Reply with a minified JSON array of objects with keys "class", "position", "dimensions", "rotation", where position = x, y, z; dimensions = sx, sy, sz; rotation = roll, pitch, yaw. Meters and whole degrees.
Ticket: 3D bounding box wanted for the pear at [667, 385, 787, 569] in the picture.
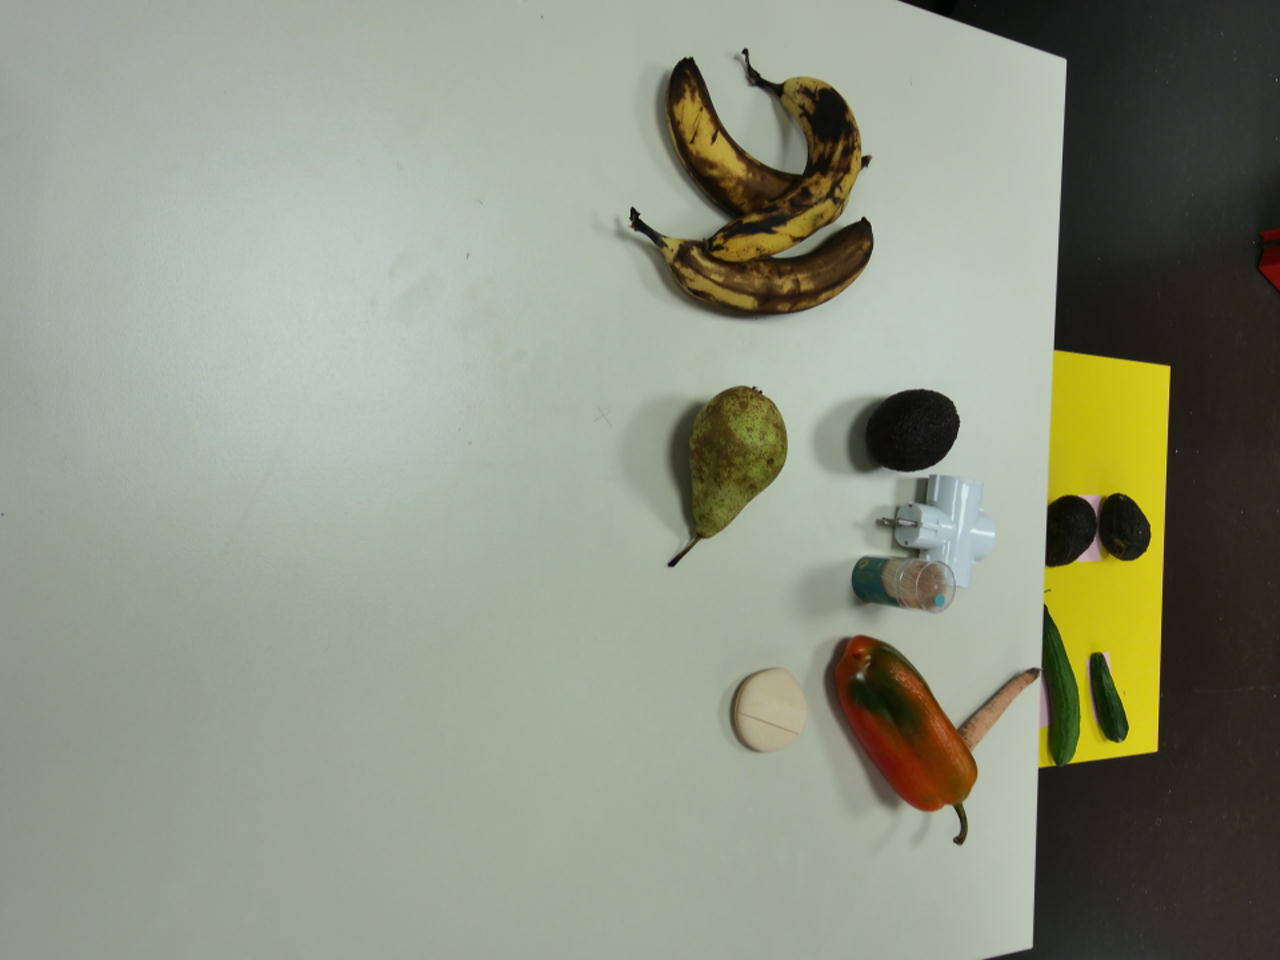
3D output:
[{"class":"pear","position":[0.070,-0.003,0.717],"dimensions":[0.071,0.075,0.128],"rotation":[-4,93,-29]}]
